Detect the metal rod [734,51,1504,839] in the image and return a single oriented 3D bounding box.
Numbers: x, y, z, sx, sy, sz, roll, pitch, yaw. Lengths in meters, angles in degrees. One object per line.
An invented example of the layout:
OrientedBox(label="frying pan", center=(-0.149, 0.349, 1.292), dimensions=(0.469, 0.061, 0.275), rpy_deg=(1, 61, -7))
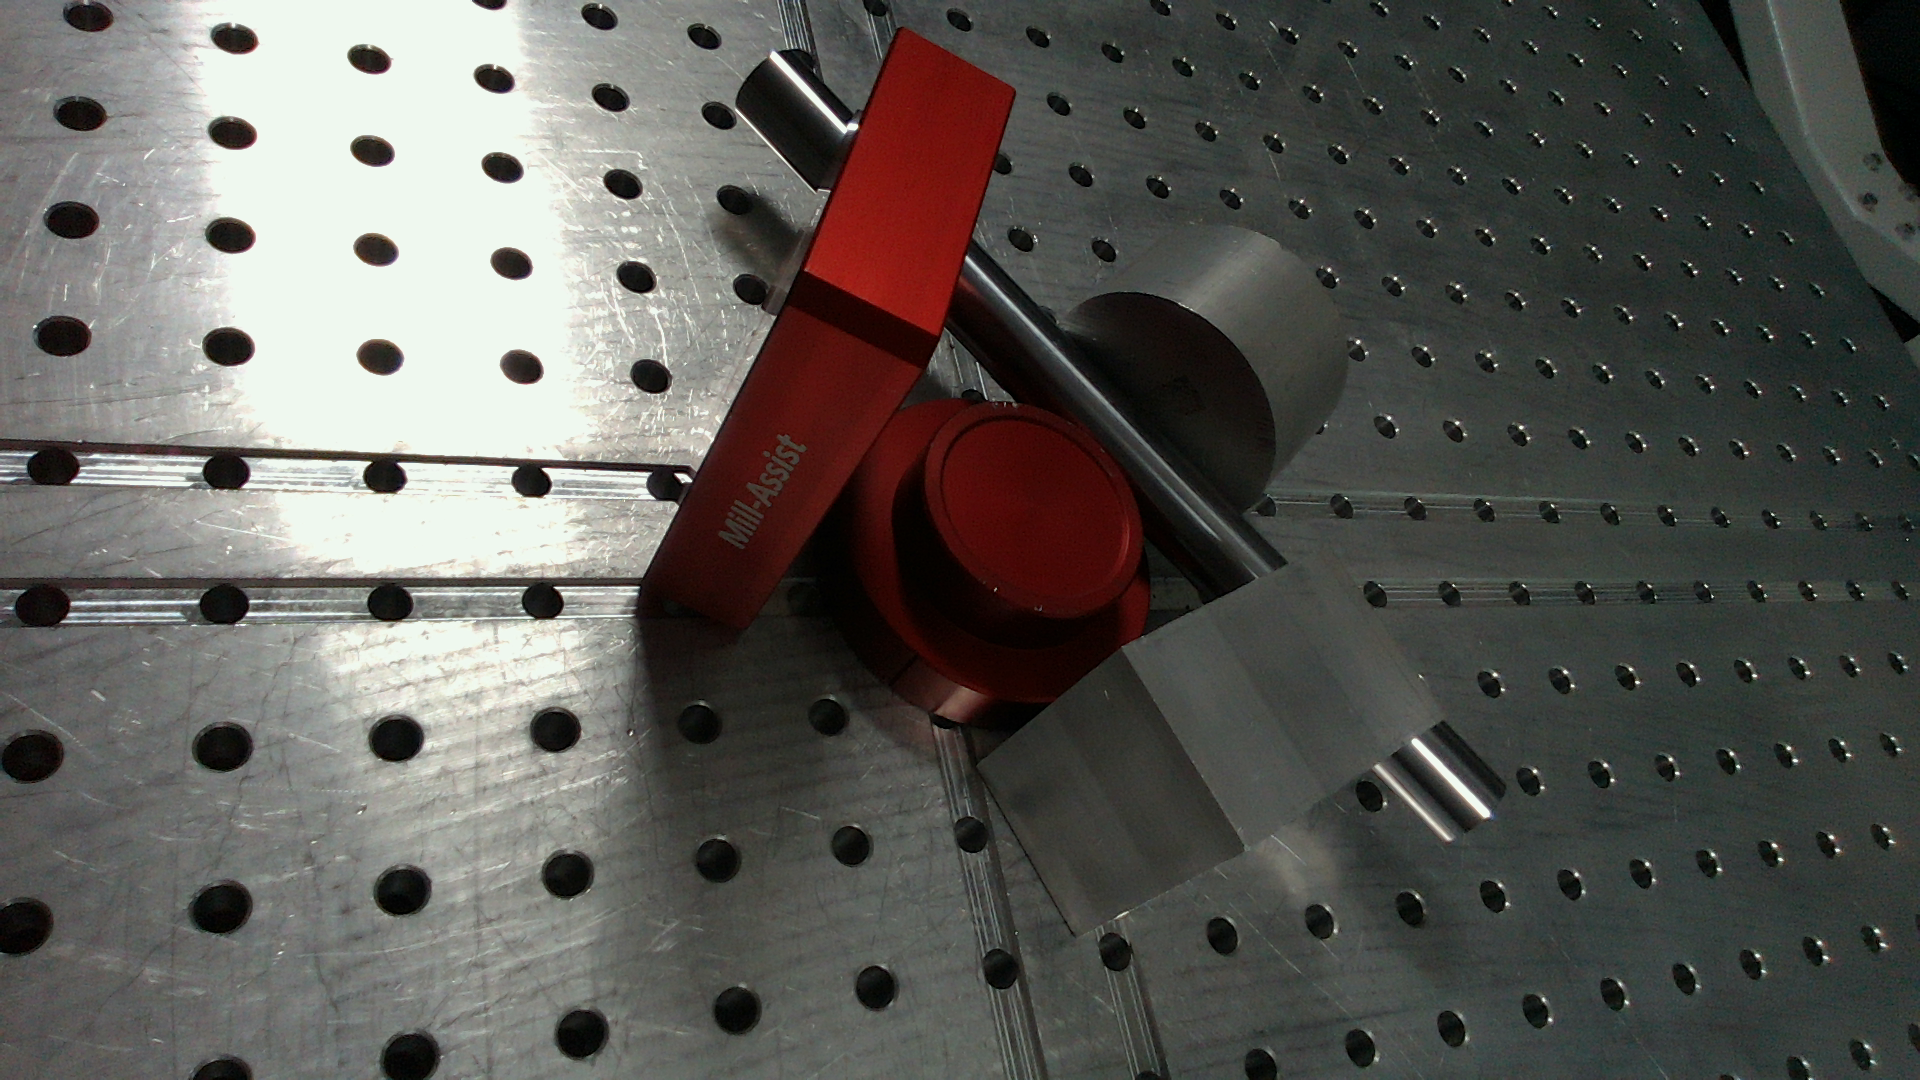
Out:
OrientedBox(label="metal rod", center=(0.044, -0.031, 0.408), dimensions=(0.300, 0.025, 0.025), rpy_deg=(46, 51, 4))

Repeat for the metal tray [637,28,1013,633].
OrientedBox(label="metal tray", center=(-0.036, -0.045, 0.334), dimensions=(0.030, 0.130, 0.090), rpy_deg=(24, 53, -13))

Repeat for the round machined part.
OrientedBox(label="round machined part", center=(0.012, 0.001, 0.388), dimensions=(0.098, 0.042, 0.098), rpy_deg=(14, 56, -21))

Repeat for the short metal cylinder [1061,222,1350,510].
OrientedBox(label="short metal cylinder", center=(0.073, -0.051, 0.426), dimensions=(0.080, 0.080, 0.050), rpy_deg=(45, 51, 3))

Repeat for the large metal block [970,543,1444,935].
OrientedBox(label="large metal block", center=(0.062, 0.052, 0.359), dimensions=(0.080, 0.080, 0.050), rpy_deg=(-21, 73, -36))
